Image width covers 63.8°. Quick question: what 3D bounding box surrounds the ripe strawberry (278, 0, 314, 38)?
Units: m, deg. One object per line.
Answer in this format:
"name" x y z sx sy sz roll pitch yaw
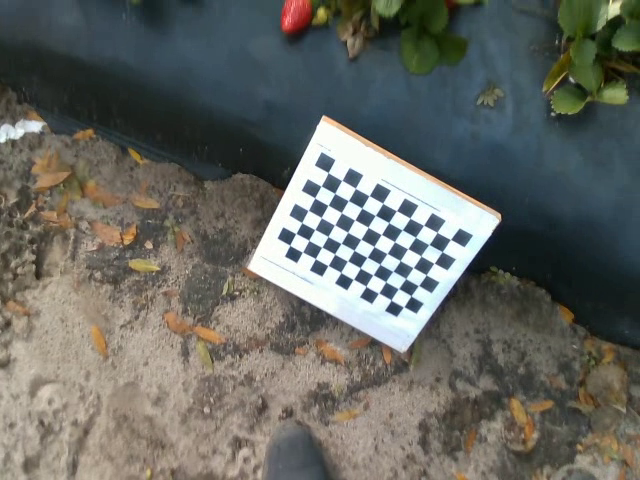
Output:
"ripe strawberry" -0.033 -0.299 0.729 0.045 0.058 0.051 31 -23 -4
